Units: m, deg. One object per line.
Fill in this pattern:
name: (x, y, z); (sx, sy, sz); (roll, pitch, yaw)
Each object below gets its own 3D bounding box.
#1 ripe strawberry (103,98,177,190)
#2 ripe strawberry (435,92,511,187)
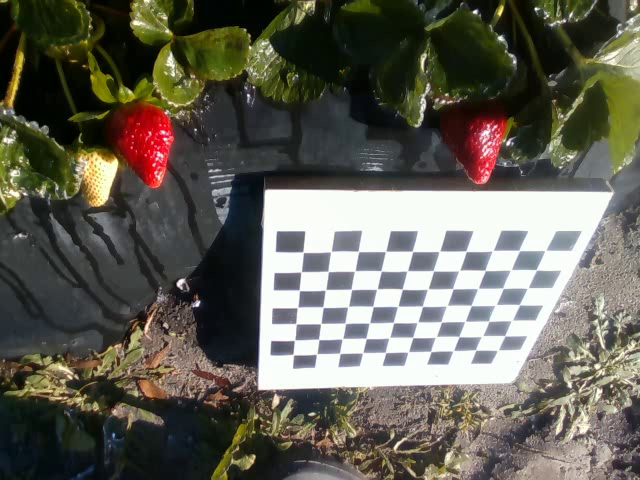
ripe strawberry: (-0.116, -0.060, 0.411); (0.042, 0.061, 0.046); (-10, 2, 2)
ripe strawberry: (0.111, -0.066, 0.428); (0.048, 0.061, 0.044); (-5, 11, -3)
